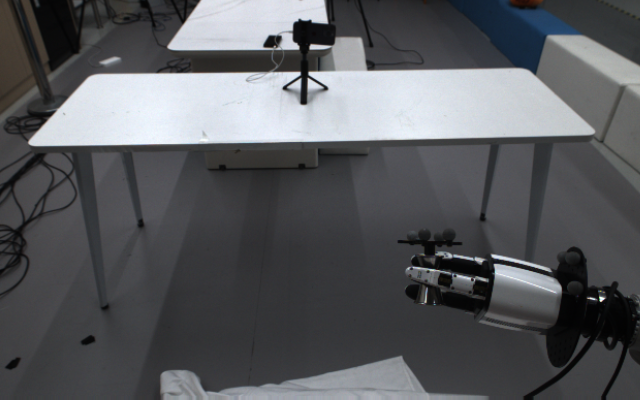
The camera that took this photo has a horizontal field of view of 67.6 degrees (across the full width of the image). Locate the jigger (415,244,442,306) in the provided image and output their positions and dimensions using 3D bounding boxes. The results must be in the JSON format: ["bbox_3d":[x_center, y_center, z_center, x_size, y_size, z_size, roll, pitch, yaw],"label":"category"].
[{"bbox_3d":[0.153,0.110,0.679,0.043,0.071,0.043,1,-6,0],"label":"jigger"}]
